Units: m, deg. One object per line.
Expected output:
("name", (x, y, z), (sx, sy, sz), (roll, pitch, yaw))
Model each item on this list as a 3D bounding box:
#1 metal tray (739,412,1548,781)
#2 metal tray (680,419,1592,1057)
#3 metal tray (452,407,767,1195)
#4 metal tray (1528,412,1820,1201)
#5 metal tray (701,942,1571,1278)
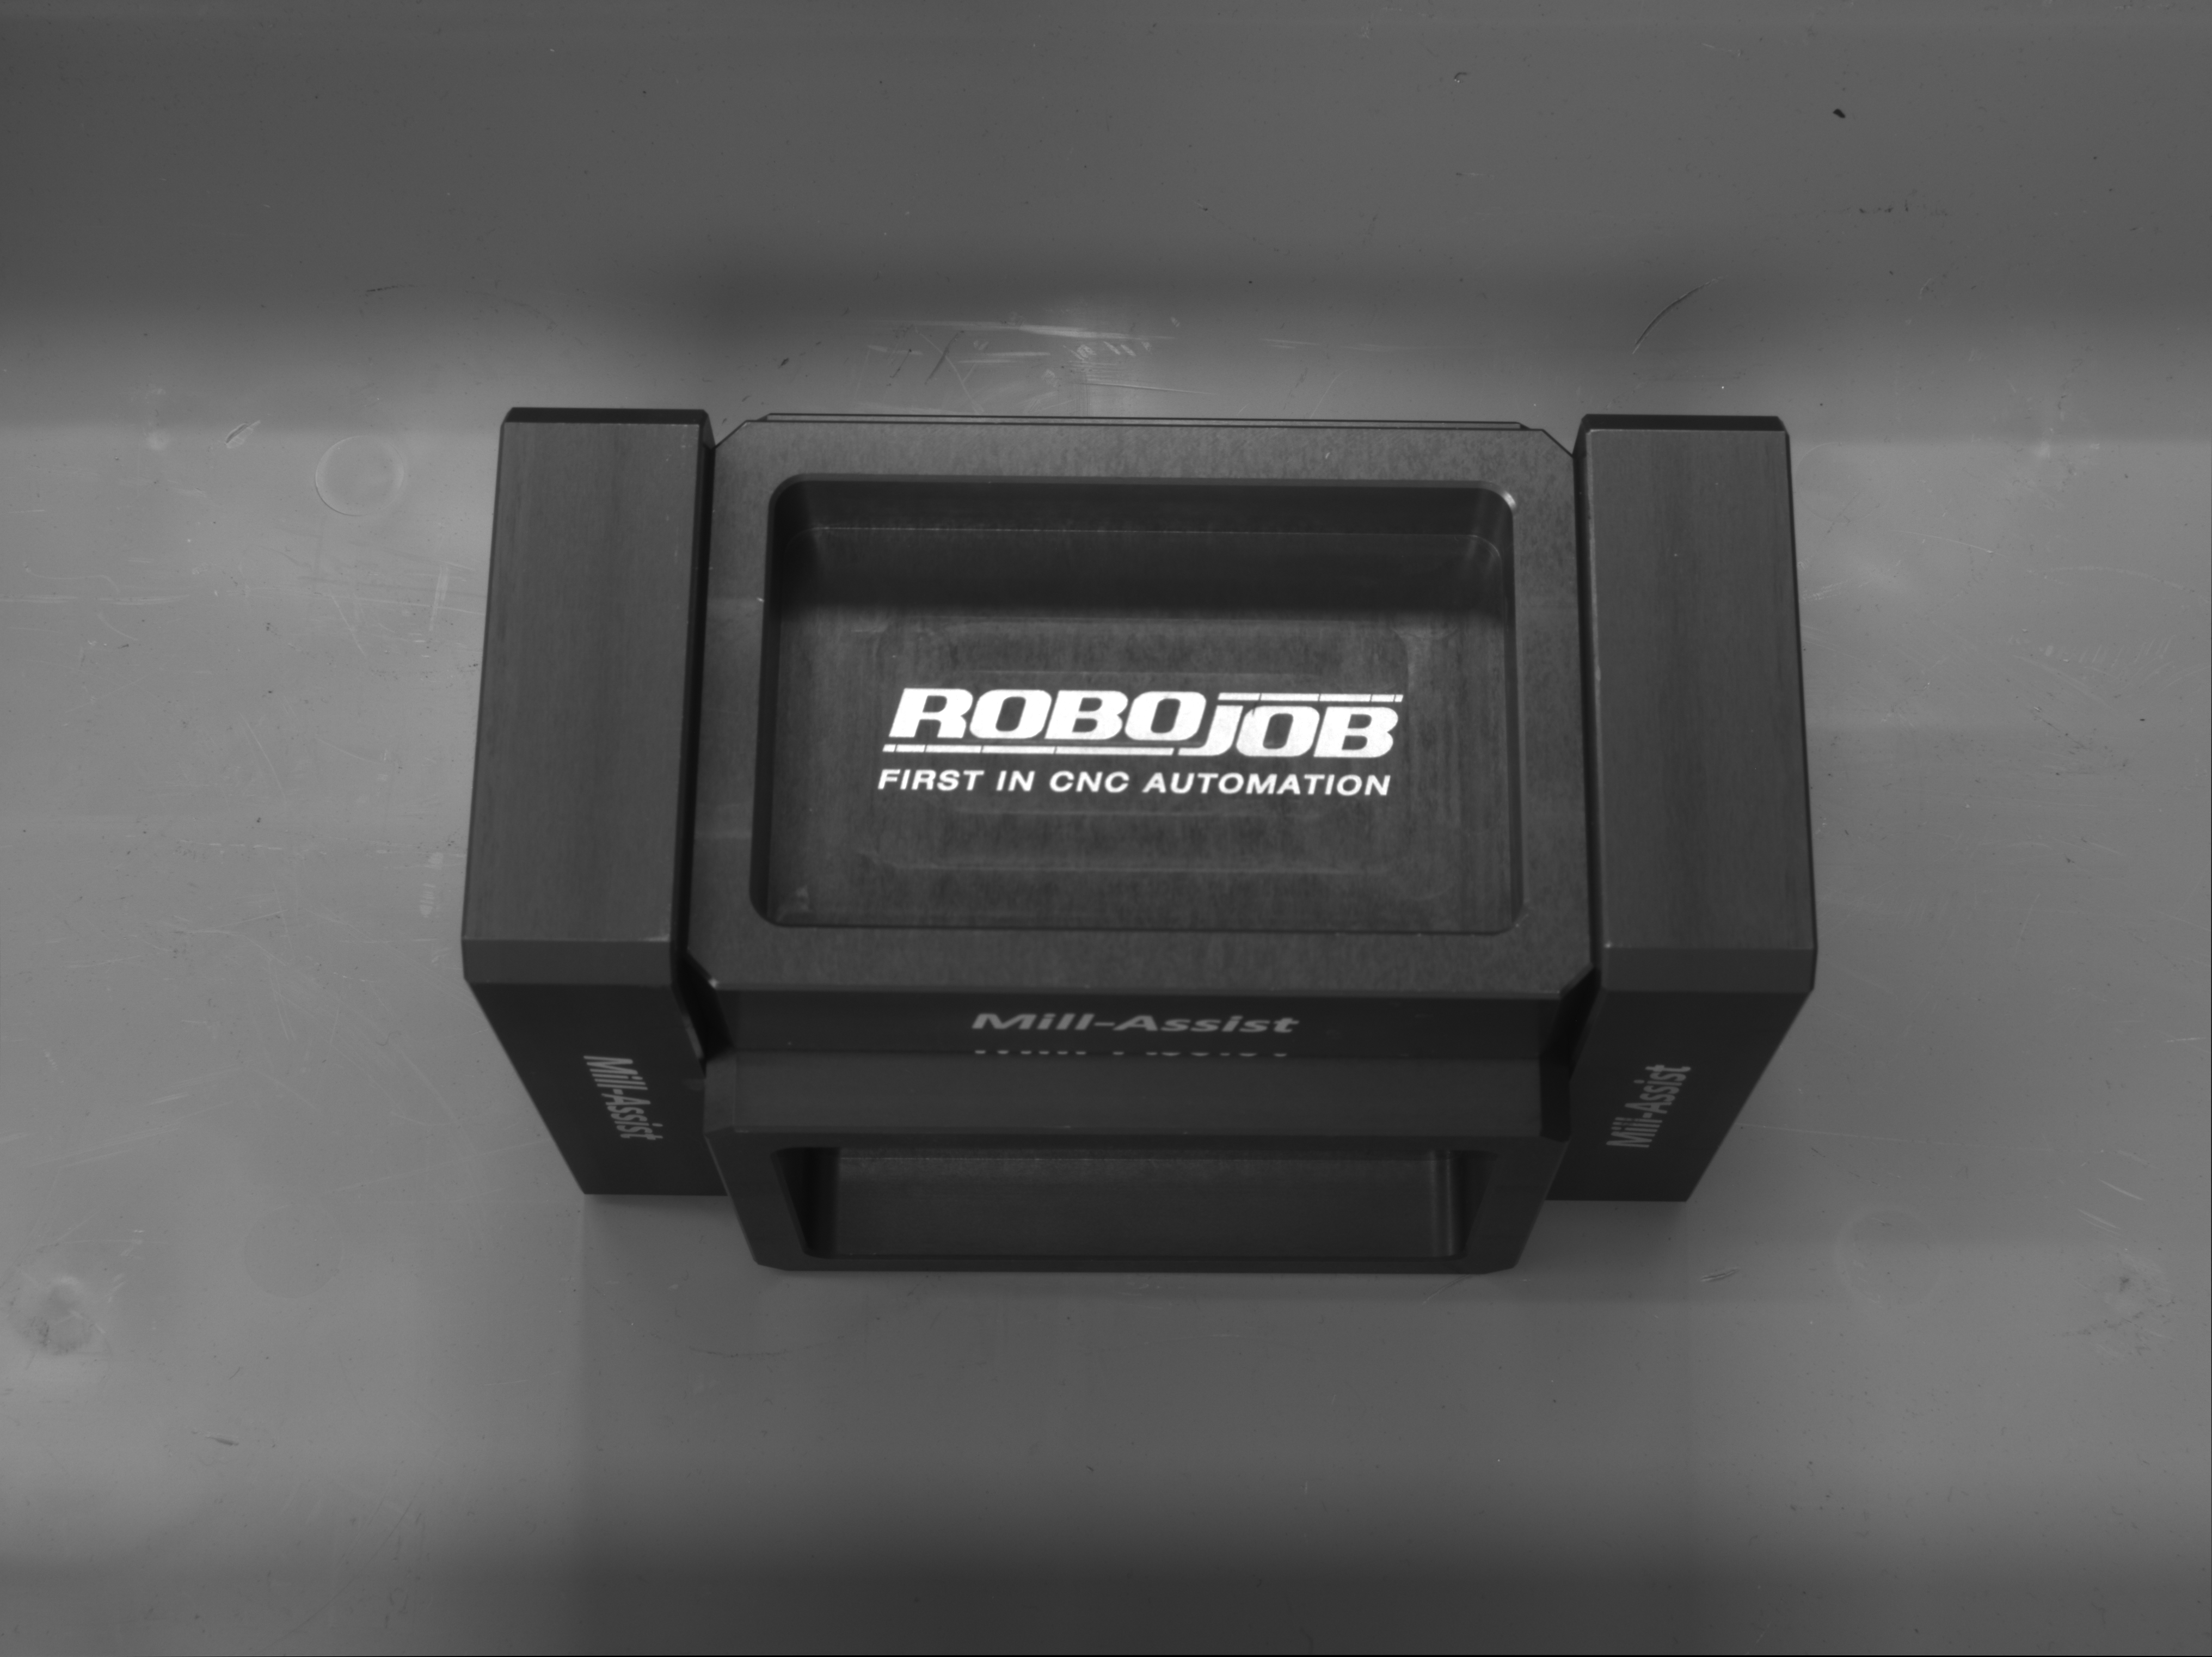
("metal tray", (0.006, -0.037, 0.621), (0.130, 0.090, 0.030), (0, 71, 1))
("metal tray", (0.005, -0.014, 0.550), (0.130, 0.030, 0.090), (1, 69, 0))
("metal tray", (-0.076, 0.000, 0.587), (0.030, 0.130, 0.090), (1, 70, 1))
("metal tray", (0.086, 0.001, 0.586), (0.030, 0.130, 0.090), (1, 70, 1))
("metal tray", (0.005, 0.047, 0.590), (0.130, 0.090, 0.030), (0, 69, 0))
